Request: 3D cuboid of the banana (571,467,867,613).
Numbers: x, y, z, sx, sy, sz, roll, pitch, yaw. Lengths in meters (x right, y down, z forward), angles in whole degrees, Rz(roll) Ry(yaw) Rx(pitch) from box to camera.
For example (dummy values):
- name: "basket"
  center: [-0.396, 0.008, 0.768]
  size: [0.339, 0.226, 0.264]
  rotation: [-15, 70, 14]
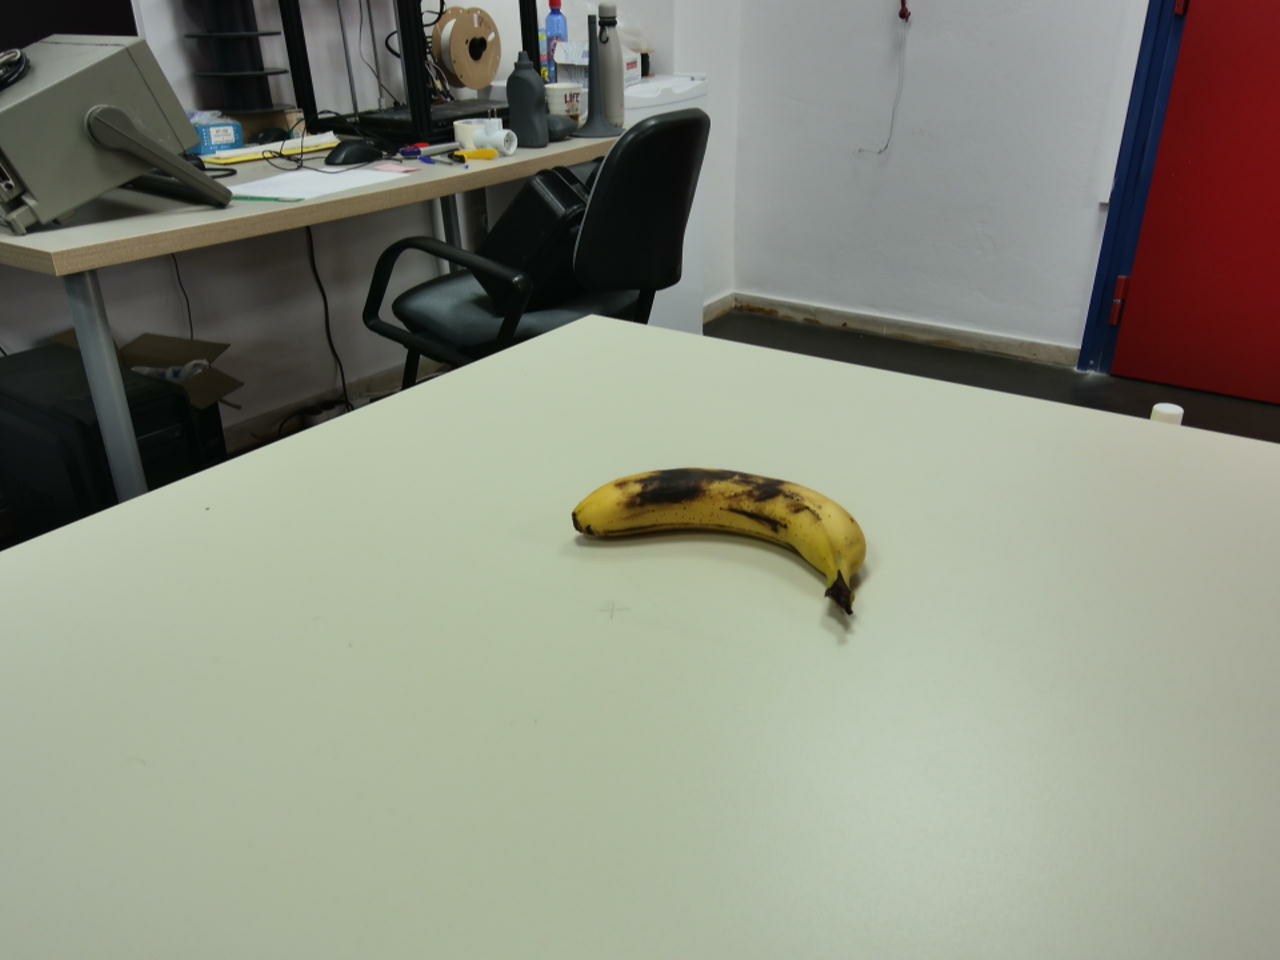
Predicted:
- name: "banana"
  center: [0.056, 0.025, 0.605]
  size: [0.187, 0.039, 0.094]
  rotation: [16, 29, 31]
